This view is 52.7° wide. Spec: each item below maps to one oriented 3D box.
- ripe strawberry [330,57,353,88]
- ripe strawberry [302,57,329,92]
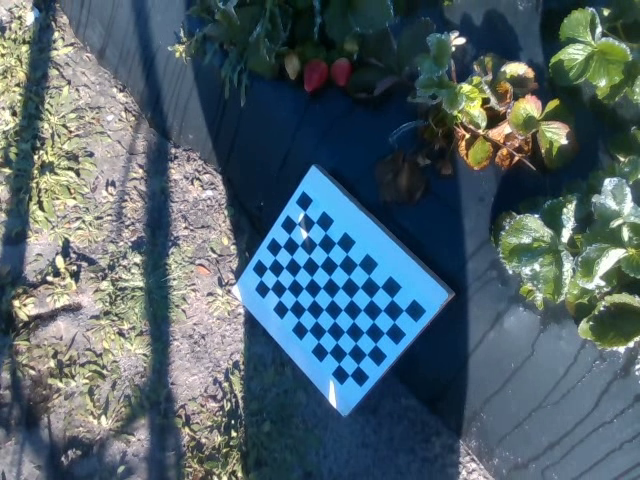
[{"bbox_3d":[0.030,-0.230,0.881,0.036,0.041,0.030,-25,-13,33],"label":"ripe strawberry"},{"bbox_3d":[-0.009,-0.223,0.886,0.037,0.051,0.039,4,-29,33],"label":"ripe strawberry"}]
